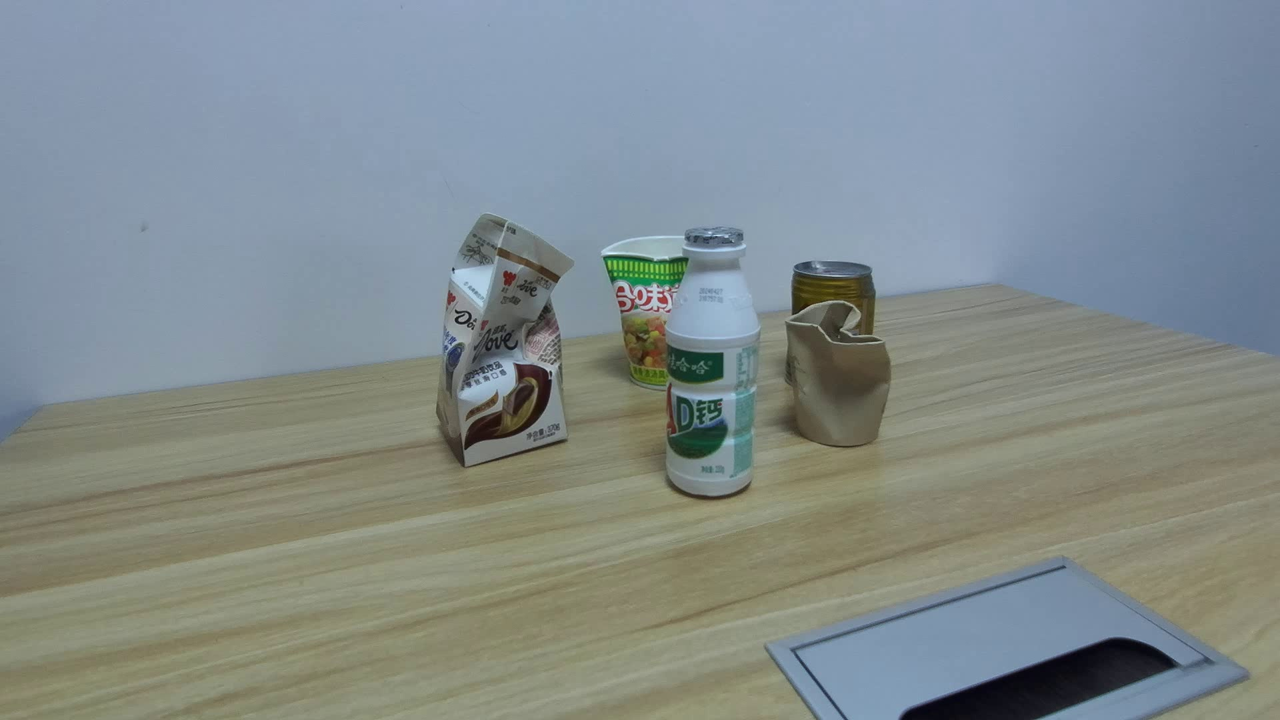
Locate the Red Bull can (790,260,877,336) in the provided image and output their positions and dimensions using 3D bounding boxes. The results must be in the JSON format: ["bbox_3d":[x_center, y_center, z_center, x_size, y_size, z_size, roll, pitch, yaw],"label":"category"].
[{"bbox_3d":[0.149,-0.028,0.560,0.068,0.093,0.068,-1,21,1],"label":"Red Bull can"}]

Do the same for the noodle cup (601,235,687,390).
[{"bbox_3d":[0.030,-0.040,0.560,0.093,0.109,0.087,11,25,36],"label":"noodle cup"}]

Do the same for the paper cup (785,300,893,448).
[{"bbox_3d":[0.133,0.011,0.458,0.058,0.083,0.067,18,30,38],"label":"paper cup"}]

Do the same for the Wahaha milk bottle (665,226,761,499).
[{"bbox_3d":[0.040,0.002,0.392,0.053,0.147,0.053,-1,18,1],"label":"Wahaha milk bottle"}]

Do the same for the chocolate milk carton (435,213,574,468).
[{"bbox_3d":[-0.087,-0.015,0.464,0.090,0.155,0.076,2,18,-35],"label":"chocolate milk carton"}]
